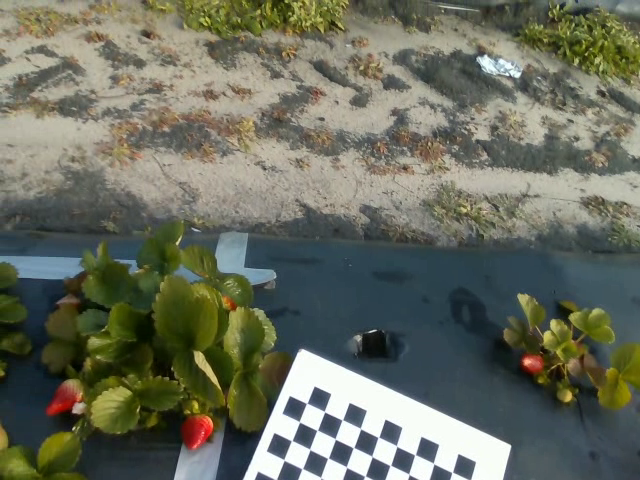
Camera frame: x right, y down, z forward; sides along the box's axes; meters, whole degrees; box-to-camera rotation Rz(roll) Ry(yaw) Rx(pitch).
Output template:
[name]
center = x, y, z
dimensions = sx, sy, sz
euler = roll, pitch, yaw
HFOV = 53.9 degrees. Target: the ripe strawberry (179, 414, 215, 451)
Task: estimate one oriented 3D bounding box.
[ripe strawberry]
center = -0.139, 0.220, 0.702
dimensions = 0.050, 0.055, 0.036
euler = 21, -44, -3
